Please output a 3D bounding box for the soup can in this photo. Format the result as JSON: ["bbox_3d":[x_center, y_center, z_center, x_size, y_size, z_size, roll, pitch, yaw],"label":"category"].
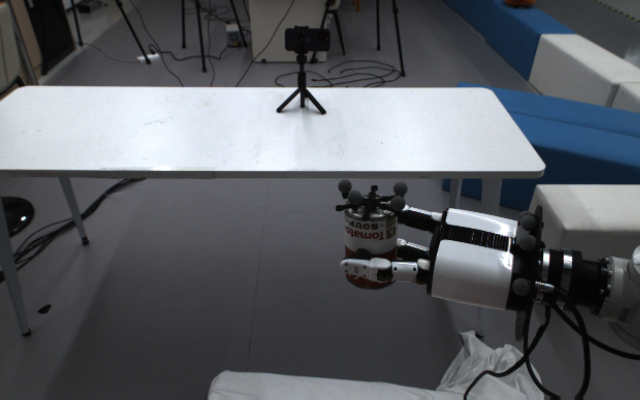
[{"bbox_3d":[0.067,0.051,0.612,0.067,0.101,0.067,-3,27,2],"label":"soup can"}]
